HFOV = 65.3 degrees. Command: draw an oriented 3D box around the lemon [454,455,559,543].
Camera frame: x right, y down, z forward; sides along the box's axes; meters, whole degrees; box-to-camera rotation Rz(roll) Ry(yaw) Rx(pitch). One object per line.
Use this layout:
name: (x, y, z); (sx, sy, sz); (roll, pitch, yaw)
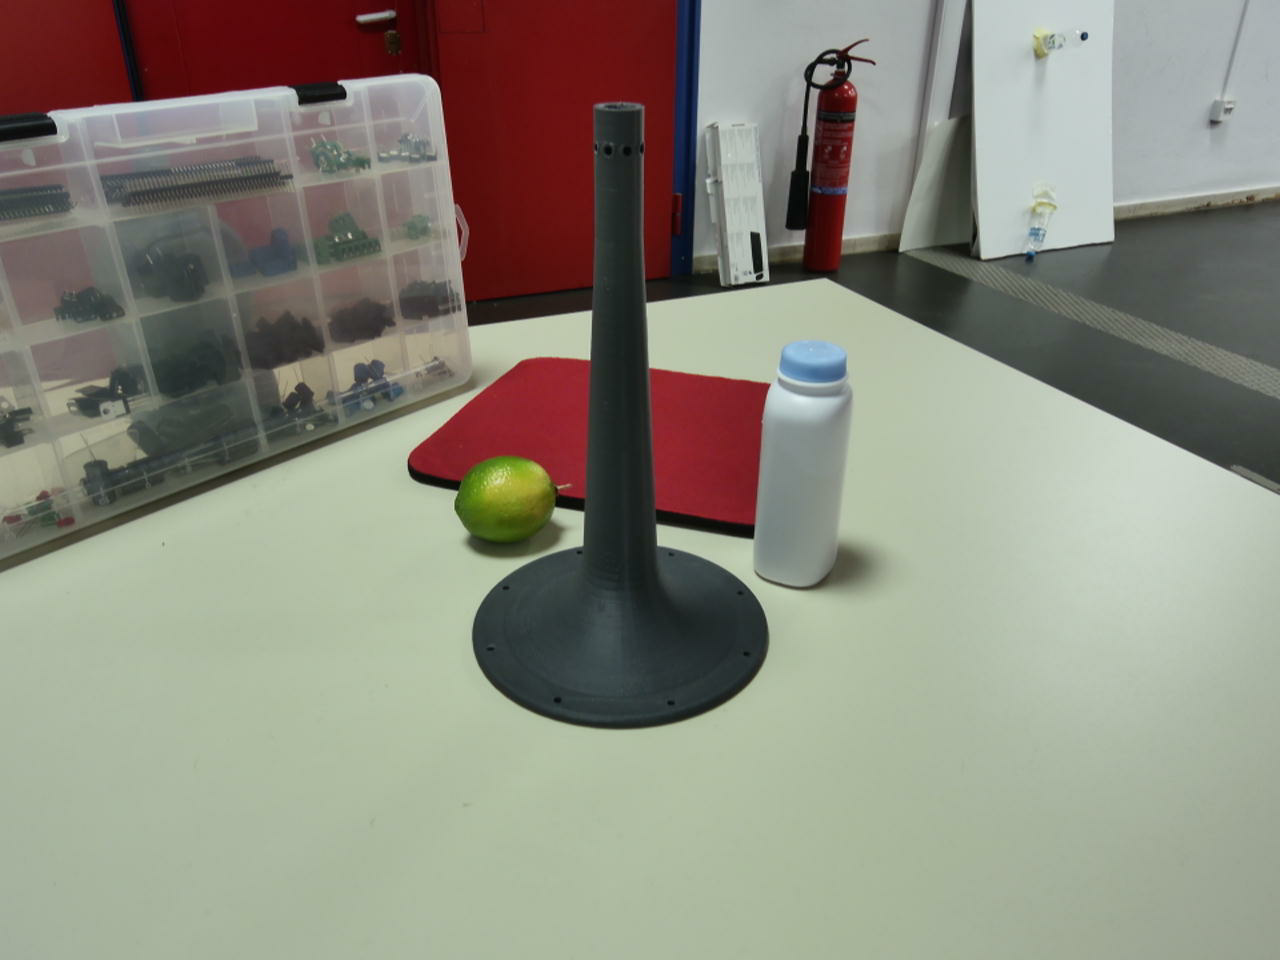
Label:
lemon: (-0.078, 0.011, 0.583); (0.055, 0.050, 0.054); (12, 29, 23)
